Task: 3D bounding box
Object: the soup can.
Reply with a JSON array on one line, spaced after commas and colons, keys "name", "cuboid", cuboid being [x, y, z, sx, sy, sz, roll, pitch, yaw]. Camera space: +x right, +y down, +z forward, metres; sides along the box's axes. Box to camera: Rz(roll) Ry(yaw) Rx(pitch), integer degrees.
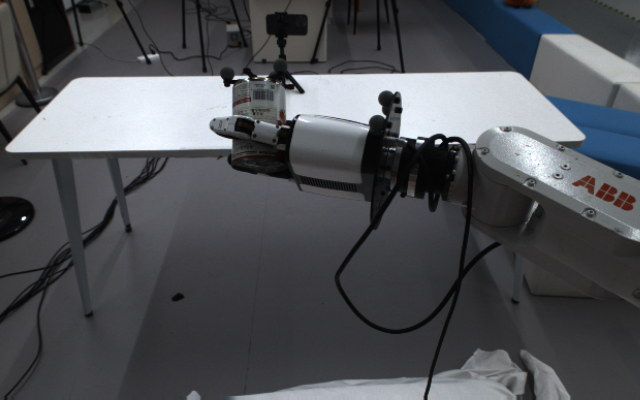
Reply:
[{"name": "soup can", "cuboid": [-0.073, -0.089, 0.590, 0.067, 0.101, 0.067, -1, -9, 0]}]
